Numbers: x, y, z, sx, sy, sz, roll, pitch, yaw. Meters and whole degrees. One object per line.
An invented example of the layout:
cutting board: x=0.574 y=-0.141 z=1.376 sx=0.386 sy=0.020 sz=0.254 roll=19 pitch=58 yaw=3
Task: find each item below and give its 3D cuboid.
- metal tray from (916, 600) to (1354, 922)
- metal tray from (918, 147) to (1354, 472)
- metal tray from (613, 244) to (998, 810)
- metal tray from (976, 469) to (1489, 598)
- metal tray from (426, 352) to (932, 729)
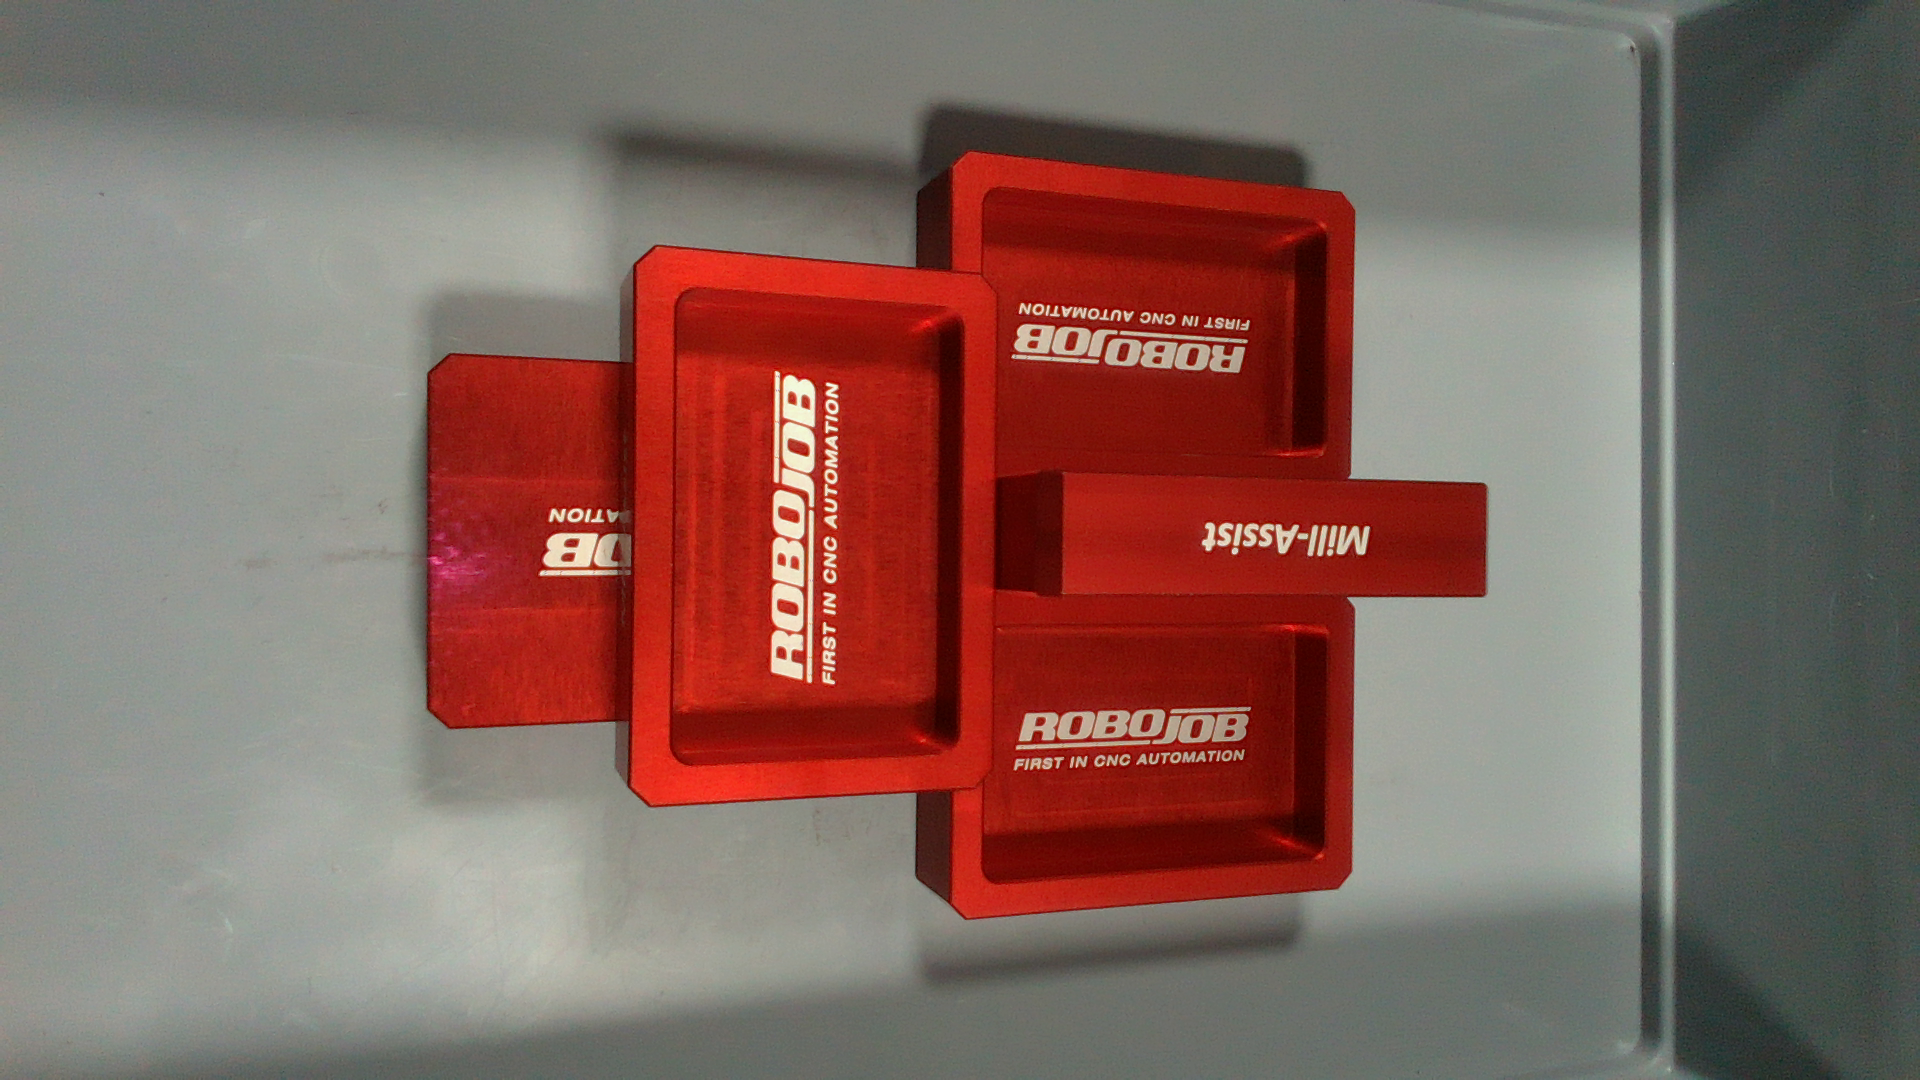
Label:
metal tray: x=0.054 y=0.060 z=0.409 sx=0.130 sy=0.030 sz=0.090 roll=1 pitch=90 yaw=-20
metal tray: x=0.053 y=-0.062 z=0.409 sx=0.130 sy=0.030 sz=0.090 roll=1 pitch=90 yaw=-20
metal tray: x=-0.039 y=-0.002 z=0.343 sx=0.090 sy=0.030 sz=0.130 roll=1 pitch=90 yaw=-20
metal tray: x=0.066 y=-0.001 z=0.381 sx=0.130 sy=0.090 sz=0.030 roll=1 pitch=90 yaw=-20
metal tray: x=-0.070 y=0.000 z=0.362 sx=0.130 sy=0.030 sz=0.090 roll=0 pitch=90 yaw=-20
